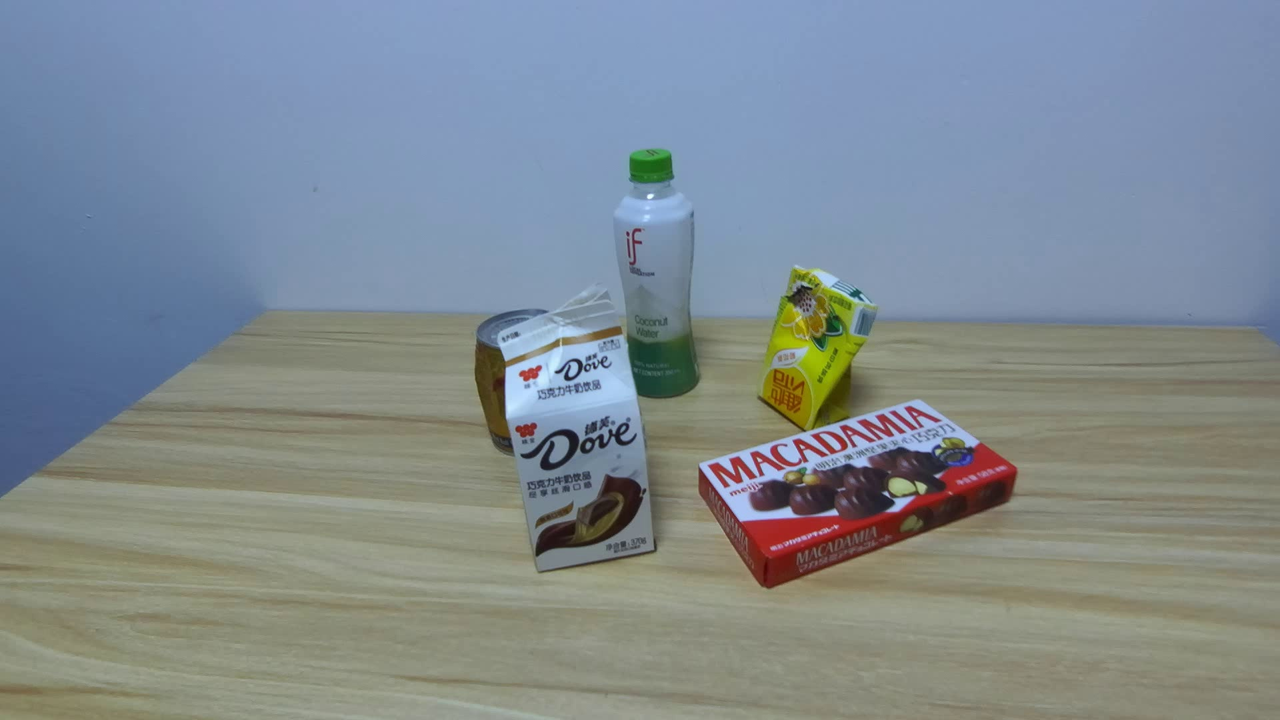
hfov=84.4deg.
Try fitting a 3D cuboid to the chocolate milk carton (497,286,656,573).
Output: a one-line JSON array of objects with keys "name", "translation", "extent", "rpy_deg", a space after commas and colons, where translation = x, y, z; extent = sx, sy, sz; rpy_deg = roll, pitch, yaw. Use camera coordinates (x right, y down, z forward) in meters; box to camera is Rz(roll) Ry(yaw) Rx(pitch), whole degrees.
[{"name": "chocolate milk carton", "translation": [-0.036, 0.037, 0.415], "extent": [0.076, 0.156, 0.073], "rpy_deg": [-8, 29, -7]}]

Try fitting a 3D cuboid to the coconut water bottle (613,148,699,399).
[{"name": "coconut water bottle", "translation": [0.013, -0.064, 0.550], "extent": [0.063, 0.189, 0.063], "rpy_deg": [-3, 27, 2]}]

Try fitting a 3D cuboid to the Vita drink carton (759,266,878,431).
[{"name": "Vita drink carton", "translation": [0.133, -0.009, 0.526], "extent": [0.042, 0.108, 0.086], "rpy_deg": [-5, 29, -33]}]

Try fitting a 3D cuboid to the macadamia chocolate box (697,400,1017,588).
[{"name": "macadamia chocolate box", "translation": [0.136, 0.078, 0.454], "extent": [0.178, 0.027, 0.095], "rpy_deg": [-13, 31, -16]}]
